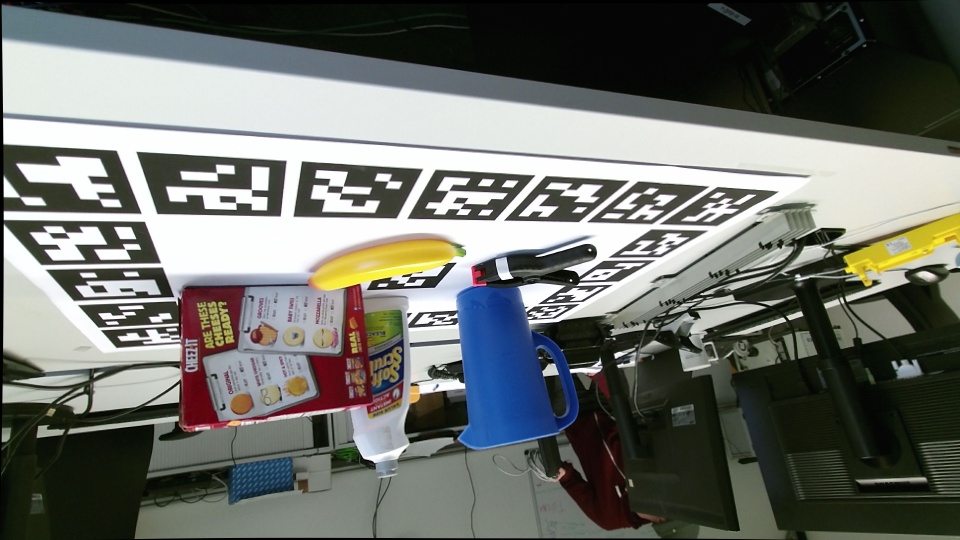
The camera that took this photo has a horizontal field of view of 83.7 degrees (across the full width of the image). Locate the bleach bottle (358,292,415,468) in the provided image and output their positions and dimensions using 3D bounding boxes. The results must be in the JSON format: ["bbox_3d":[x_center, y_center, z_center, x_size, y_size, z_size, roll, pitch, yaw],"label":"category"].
[{"bbox_3d":[-0.137,0.161,0.799,0.103,0.249,0.068,-2,160,-24],"label":"bleach bottle"}]

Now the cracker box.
[{"bbox_3d":[-0.254,0.111,0.681,0.214,0.163,0.072,-2,162,-27],"label":"cracker box"}]

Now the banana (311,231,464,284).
[{"bbox_3d":[-0.121,-0.015,0.651,0.198,0.038,0.074,-13,161,8],"label":"banana"}]

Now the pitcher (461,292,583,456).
[{"bbox_3d":[0.053,0.161,0.836,0.189,0.241,0.133,-6,161,-6],"label":"pitcher"}]

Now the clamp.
[{"bbox_3d":[0.072,-0.003,0.760,0.166,0.036,0.122,-5,162,-8],"label":"clamp"}]
